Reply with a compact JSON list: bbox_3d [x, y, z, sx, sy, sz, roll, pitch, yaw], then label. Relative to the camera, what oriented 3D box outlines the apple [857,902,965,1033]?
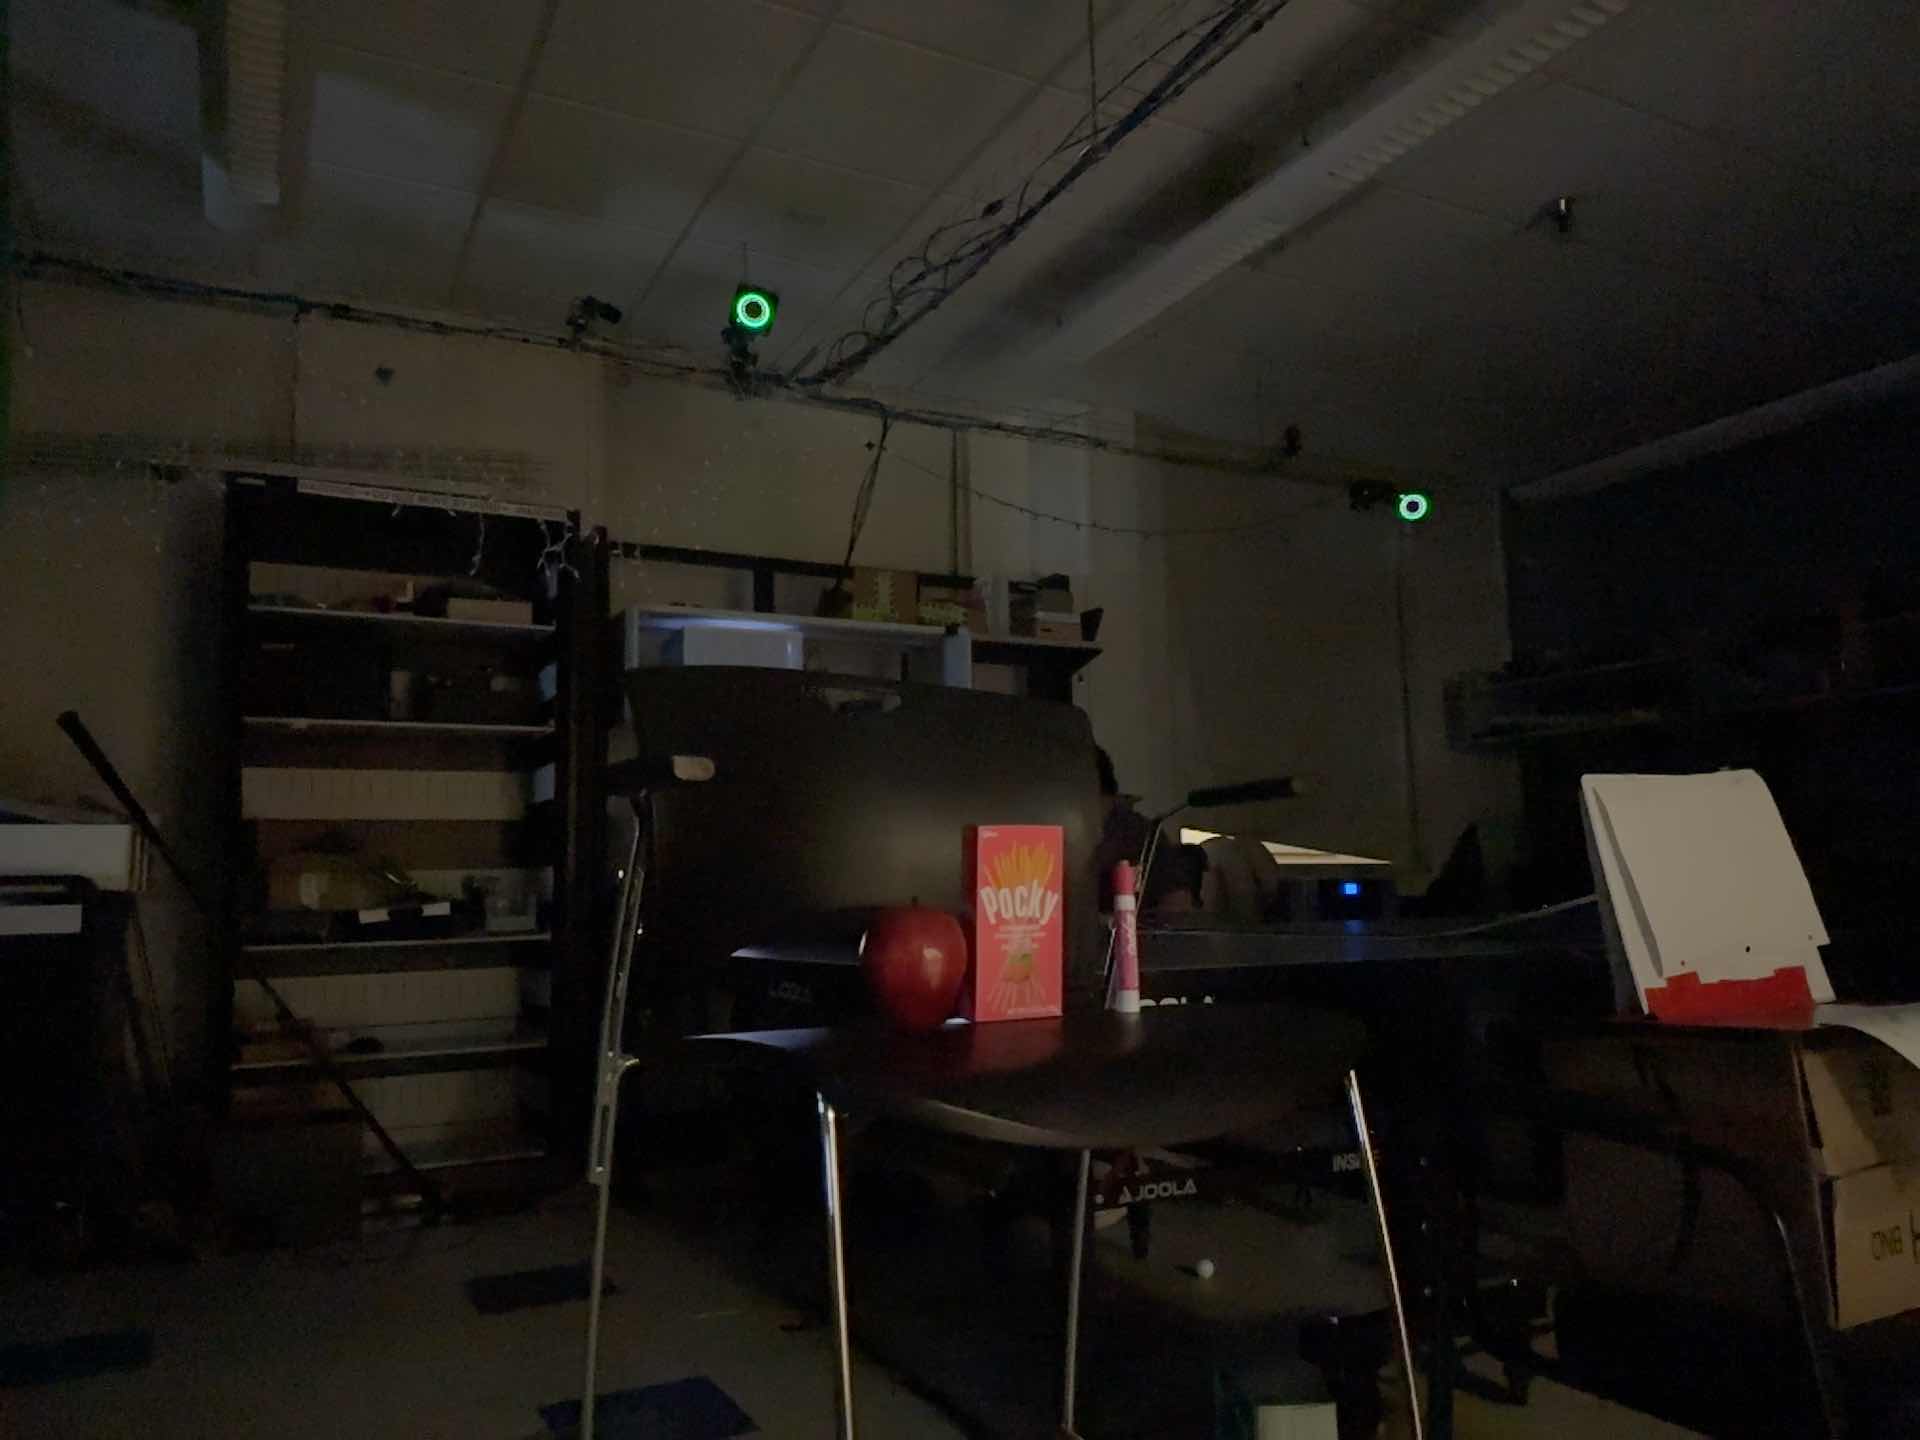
[{"bbox_3d":[-0.036,0.179,0.981,0.079,0.093,0.079,-3,-11,-1],"label":"apple"}]

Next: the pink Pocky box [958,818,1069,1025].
[{"bbox_3d":[0.041,0.153,1.035,0.084,0.155,0.029,3,-6,-29],"label":"pink Pocky box"}]

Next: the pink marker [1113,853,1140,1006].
[{"bbox_3d":[0.134,0.167,1.085,0.020,0.121,0.020,0,-7,0],"label":"pink marker"}]
